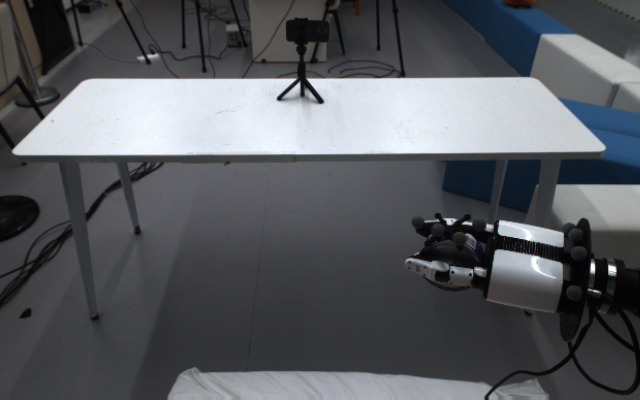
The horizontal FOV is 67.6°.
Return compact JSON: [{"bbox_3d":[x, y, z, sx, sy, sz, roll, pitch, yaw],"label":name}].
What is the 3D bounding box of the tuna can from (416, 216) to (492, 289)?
[{"bbox_3d":[0.183,0.080,0.666,0.085,0.085,0.034,15,34,18],"label":"tuna can"}]
